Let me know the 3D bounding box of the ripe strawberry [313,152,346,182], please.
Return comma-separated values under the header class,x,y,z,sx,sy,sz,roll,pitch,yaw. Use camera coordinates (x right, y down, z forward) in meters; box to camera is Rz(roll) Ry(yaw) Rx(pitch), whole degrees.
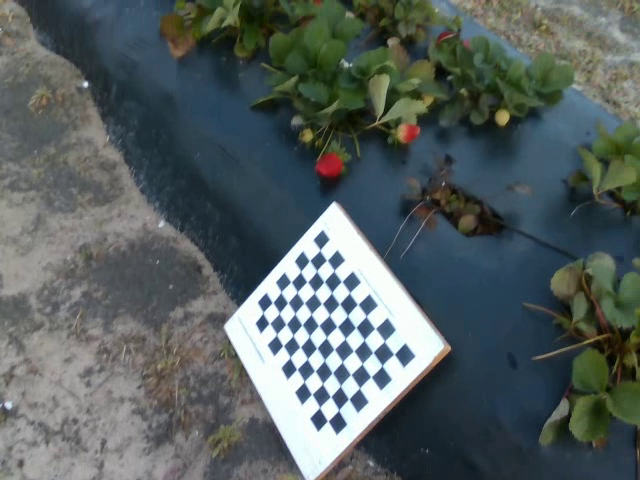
class,x,y,z,sx,sy,sz,roll,pitch,yaw
ripe strawberry,0.010,-0.104,0.896,0.045,0.042,0.054,-6,13,36
